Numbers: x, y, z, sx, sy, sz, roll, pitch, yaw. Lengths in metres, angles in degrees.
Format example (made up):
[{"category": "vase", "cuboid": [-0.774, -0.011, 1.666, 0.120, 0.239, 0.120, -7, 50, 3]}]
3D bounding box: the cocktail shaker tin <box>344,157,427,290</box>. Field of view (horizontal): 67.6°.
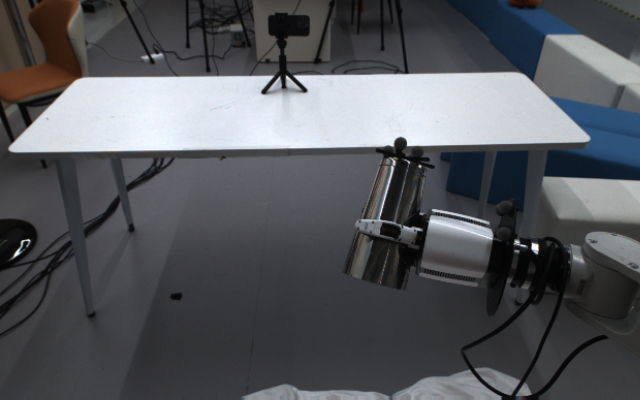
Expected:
[{"category": "cocktail shaker tin", "cuboid": [0.098, 0.031, 0.680, 0.093, 0.170, 0.093, 15, -4, 1]}]
